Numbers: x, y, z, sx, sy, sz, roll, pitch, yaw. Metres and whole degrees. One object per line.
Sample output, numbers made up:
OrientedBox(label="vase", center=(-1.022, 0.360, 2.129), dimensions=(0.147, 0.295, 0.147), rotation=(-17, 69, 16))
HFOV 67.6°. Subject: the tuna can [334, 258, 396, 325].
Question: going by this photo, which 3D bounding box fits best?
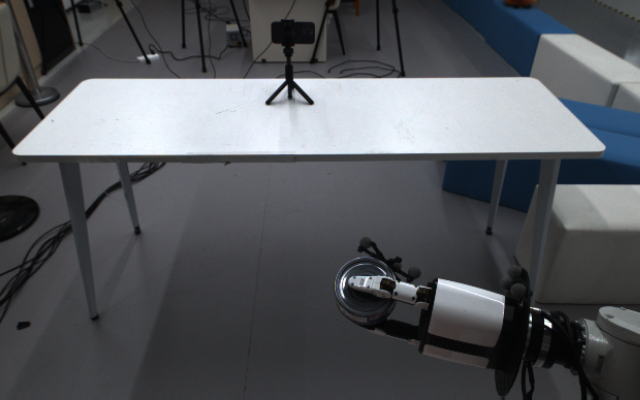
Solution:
OrientedBox(label="tuna can", center=(0.065, 0.126, 0.645), dimensions=(0.085, 0.034, 0.085), rotation=(-4, 58, 6))
